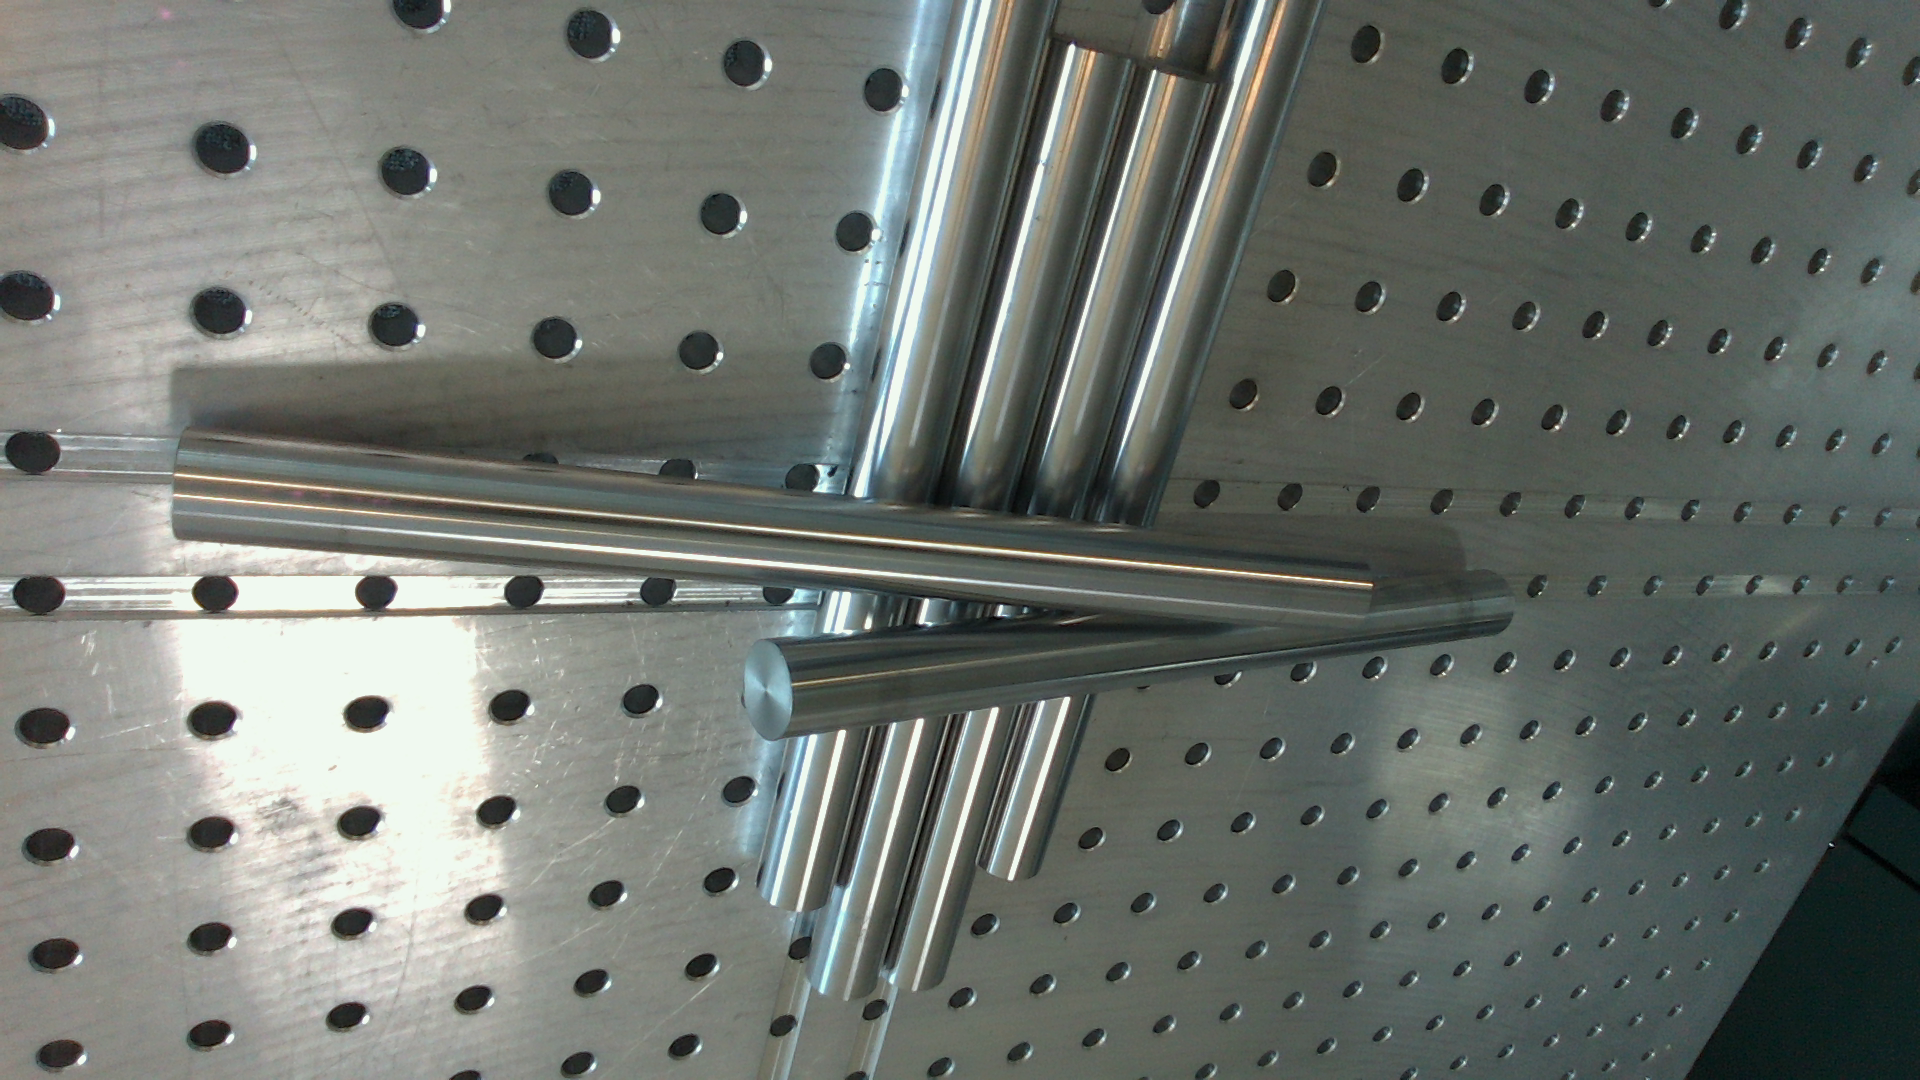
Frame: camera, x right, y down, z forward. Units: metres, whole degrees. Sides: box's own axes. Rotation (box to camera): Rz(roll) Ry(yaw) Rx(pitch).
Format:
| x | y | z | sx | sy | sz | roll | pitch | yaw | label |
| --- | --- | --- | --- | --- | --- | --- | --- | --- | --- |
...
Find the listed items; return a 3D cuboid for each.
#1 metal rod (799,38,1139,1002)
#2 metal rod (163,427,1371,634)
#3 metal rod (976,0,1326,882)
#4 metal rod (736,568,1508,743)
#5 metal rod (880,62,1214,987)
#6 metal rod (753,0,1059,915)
| x | y | z | sx | sy | sz | roll | pitch | yaw | label |
| --- | --- | --- | --- | --- | --- | --- | --- | --- | --- |
| -0.005 | 0.012 | 0.395 | 0.025 | 0.025 | 0.300 | 1 | 118 | -29 | metal rod |
| -0.028 | 0.002 | 0.348 | 0.301 | 0.025 | 0.025 | 5 | 116 | -21 | metal rod |
| 0.050 | -0.025 | 0.403 | 0.025 | 0.025 | 0.300 | 1 | 118 | -29 | metal rod |
| 0.072 | 0.030 | 0.423 | 0.301 | 0.025 | 0.025 | -3 | 120 | -37 | metal rod |
| 0.017 | 0.012 | 0.410 | 0.025 | 0.025 | 0.300 | 1 | 118 | -29 | metal rod |
| -0.017 | -0.024 | 0.367 | 0.025 | 0.025 | 0.300 | 1 | 118 | -29 | metal rod |
